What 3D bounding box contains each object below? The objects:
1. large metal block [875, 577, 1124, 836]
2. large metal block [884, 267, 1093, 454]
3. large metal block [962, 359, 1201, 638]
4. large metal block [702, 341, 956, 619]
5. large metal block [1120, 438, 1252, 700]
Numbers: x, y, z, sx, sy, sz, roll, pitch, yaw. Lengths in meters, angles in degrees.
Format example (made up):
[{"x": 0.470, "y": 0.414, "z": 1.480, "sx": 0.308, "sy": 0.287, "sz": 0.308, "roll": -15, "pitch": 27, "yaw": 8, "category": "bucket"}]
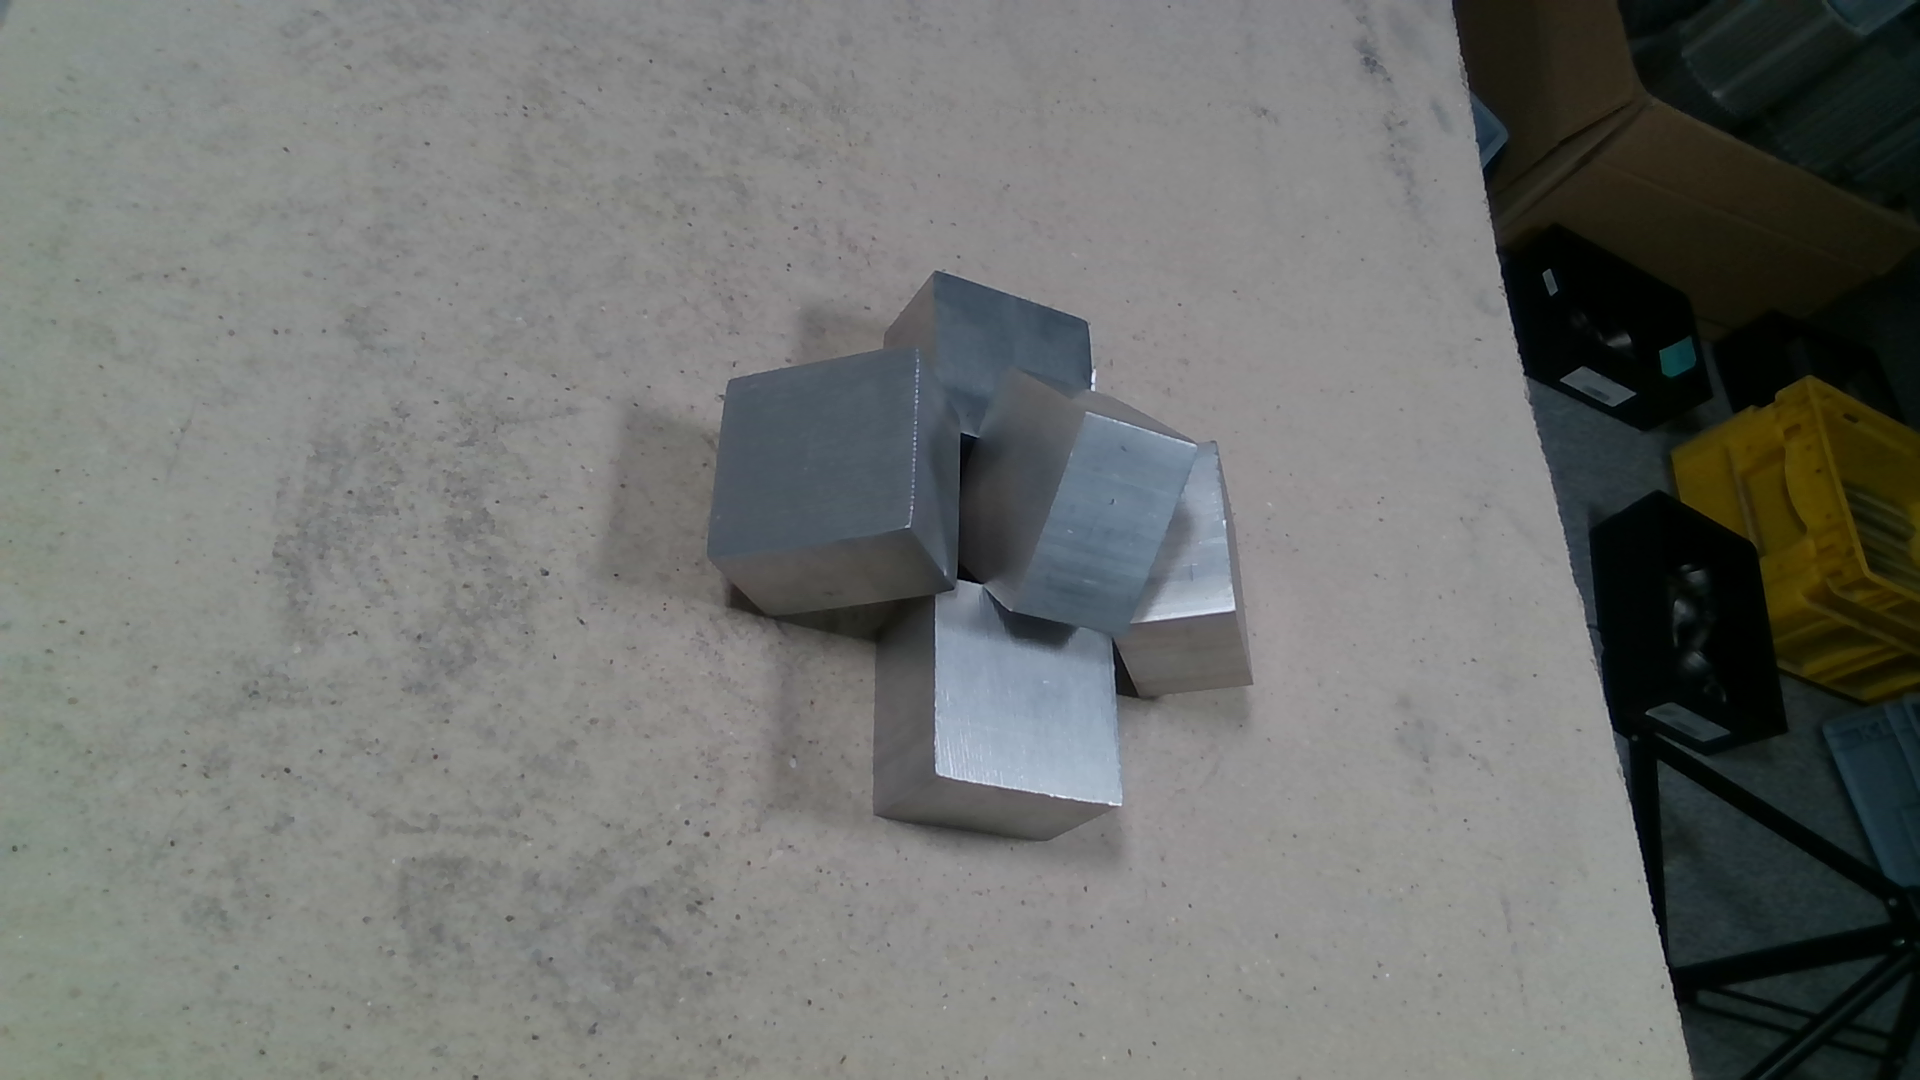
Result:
[{"x": 0.015, "y": 0.066, "z": 0.540, "sx": 0.080, "sy": 0.050, "sz": 0.080, "roll": 14, "pitch": 59, "yaw": -25, "category": "large metal block"}, {"x": 0.012, "y": -0.063, "z": 0.611, "sx": 0.080, "sy": 0.050, "sz": 0.080, "roll": 14, "pitch": 59, "yaw": -25, "category": "large metal block"}, {"x": 0.040, "y": -0.018, "z": 0.543, "sx": 0.050, "sy": 0.080, "sz": 0.080, "roll": 14, "pitch": 14, "yaw": -25, "category": "large metal block"}, {"x": -0.047, "y": -0.022, "z": 0.526, "sx": 0.050, "sy": 0.080, "sz": 0.080, "roll": 56, "pitch": 29, "yaw": -55, "category": "large metal block"}, {"x": 0.093, "y": 0.014, "z": 0.593, "sx": 0.050, "sy": 0.080, "sz": 0.080, "roll": -8, "pitch": 61, "yaw": 13, "category": "large metal block"}]
